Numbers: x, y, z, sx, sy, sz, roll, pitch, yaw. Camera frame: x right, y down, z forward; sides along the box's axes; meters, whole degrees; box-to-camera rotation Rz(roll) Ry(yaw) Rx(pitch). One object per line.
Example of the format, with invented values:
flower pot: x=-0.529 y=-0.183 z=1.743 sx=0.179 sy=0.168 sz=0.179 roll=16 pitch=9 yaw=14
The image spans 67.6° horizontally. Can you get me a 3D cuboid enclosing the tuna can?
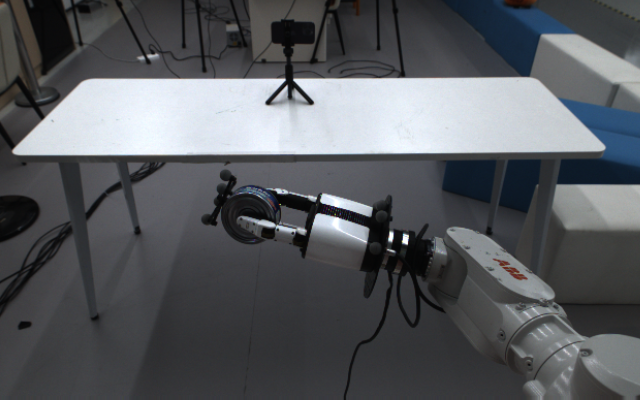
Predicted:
tuna can: x=-0.102 y=0.021 z=0.727 sx=0.085 sy=0.085 sz=0.034 roll=6 pitch=20 yaw=5
